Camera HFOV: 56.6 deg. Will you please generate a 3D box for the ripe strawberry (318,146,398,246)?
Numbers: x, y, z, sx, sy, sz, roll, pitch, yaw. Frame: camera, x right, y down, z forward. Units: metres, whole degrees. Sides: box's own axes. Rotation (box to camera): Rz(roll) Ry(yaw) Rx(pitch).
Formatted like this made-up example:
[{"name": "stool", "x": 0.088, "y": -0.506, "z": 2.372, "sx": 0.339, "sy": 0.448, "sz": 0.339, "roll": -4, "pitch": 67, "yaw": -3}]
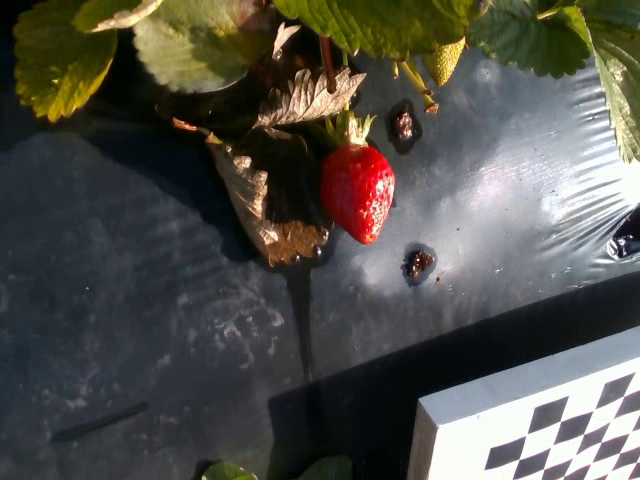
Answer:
[{"name": "ripe strawberry", "x": 0.017, "y": -0.011, "z": 0.236, "sx": 0.046, "sy": 0.054, "sz": 0.037, "roll": 5, "pitch": -14, "yaw": -31}]
